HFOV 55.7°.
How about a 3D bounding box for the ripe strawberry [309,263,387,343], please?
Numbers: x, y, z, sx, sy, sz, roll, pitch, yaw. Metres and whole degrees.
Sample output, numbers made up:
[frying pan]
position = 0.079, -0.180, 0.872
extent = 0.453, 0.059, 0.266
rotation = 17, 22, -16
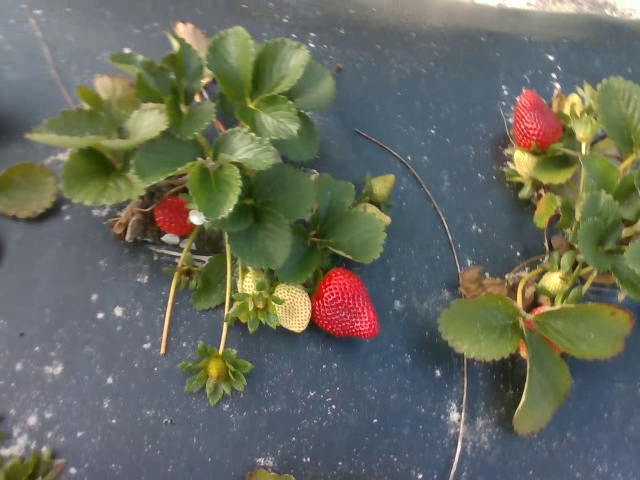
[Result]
[ripe strawberry]
position = 0.020, 0.054, 0.437
extent = 0.048, 0.051, 0.055
rotation = 11, 30, -48
